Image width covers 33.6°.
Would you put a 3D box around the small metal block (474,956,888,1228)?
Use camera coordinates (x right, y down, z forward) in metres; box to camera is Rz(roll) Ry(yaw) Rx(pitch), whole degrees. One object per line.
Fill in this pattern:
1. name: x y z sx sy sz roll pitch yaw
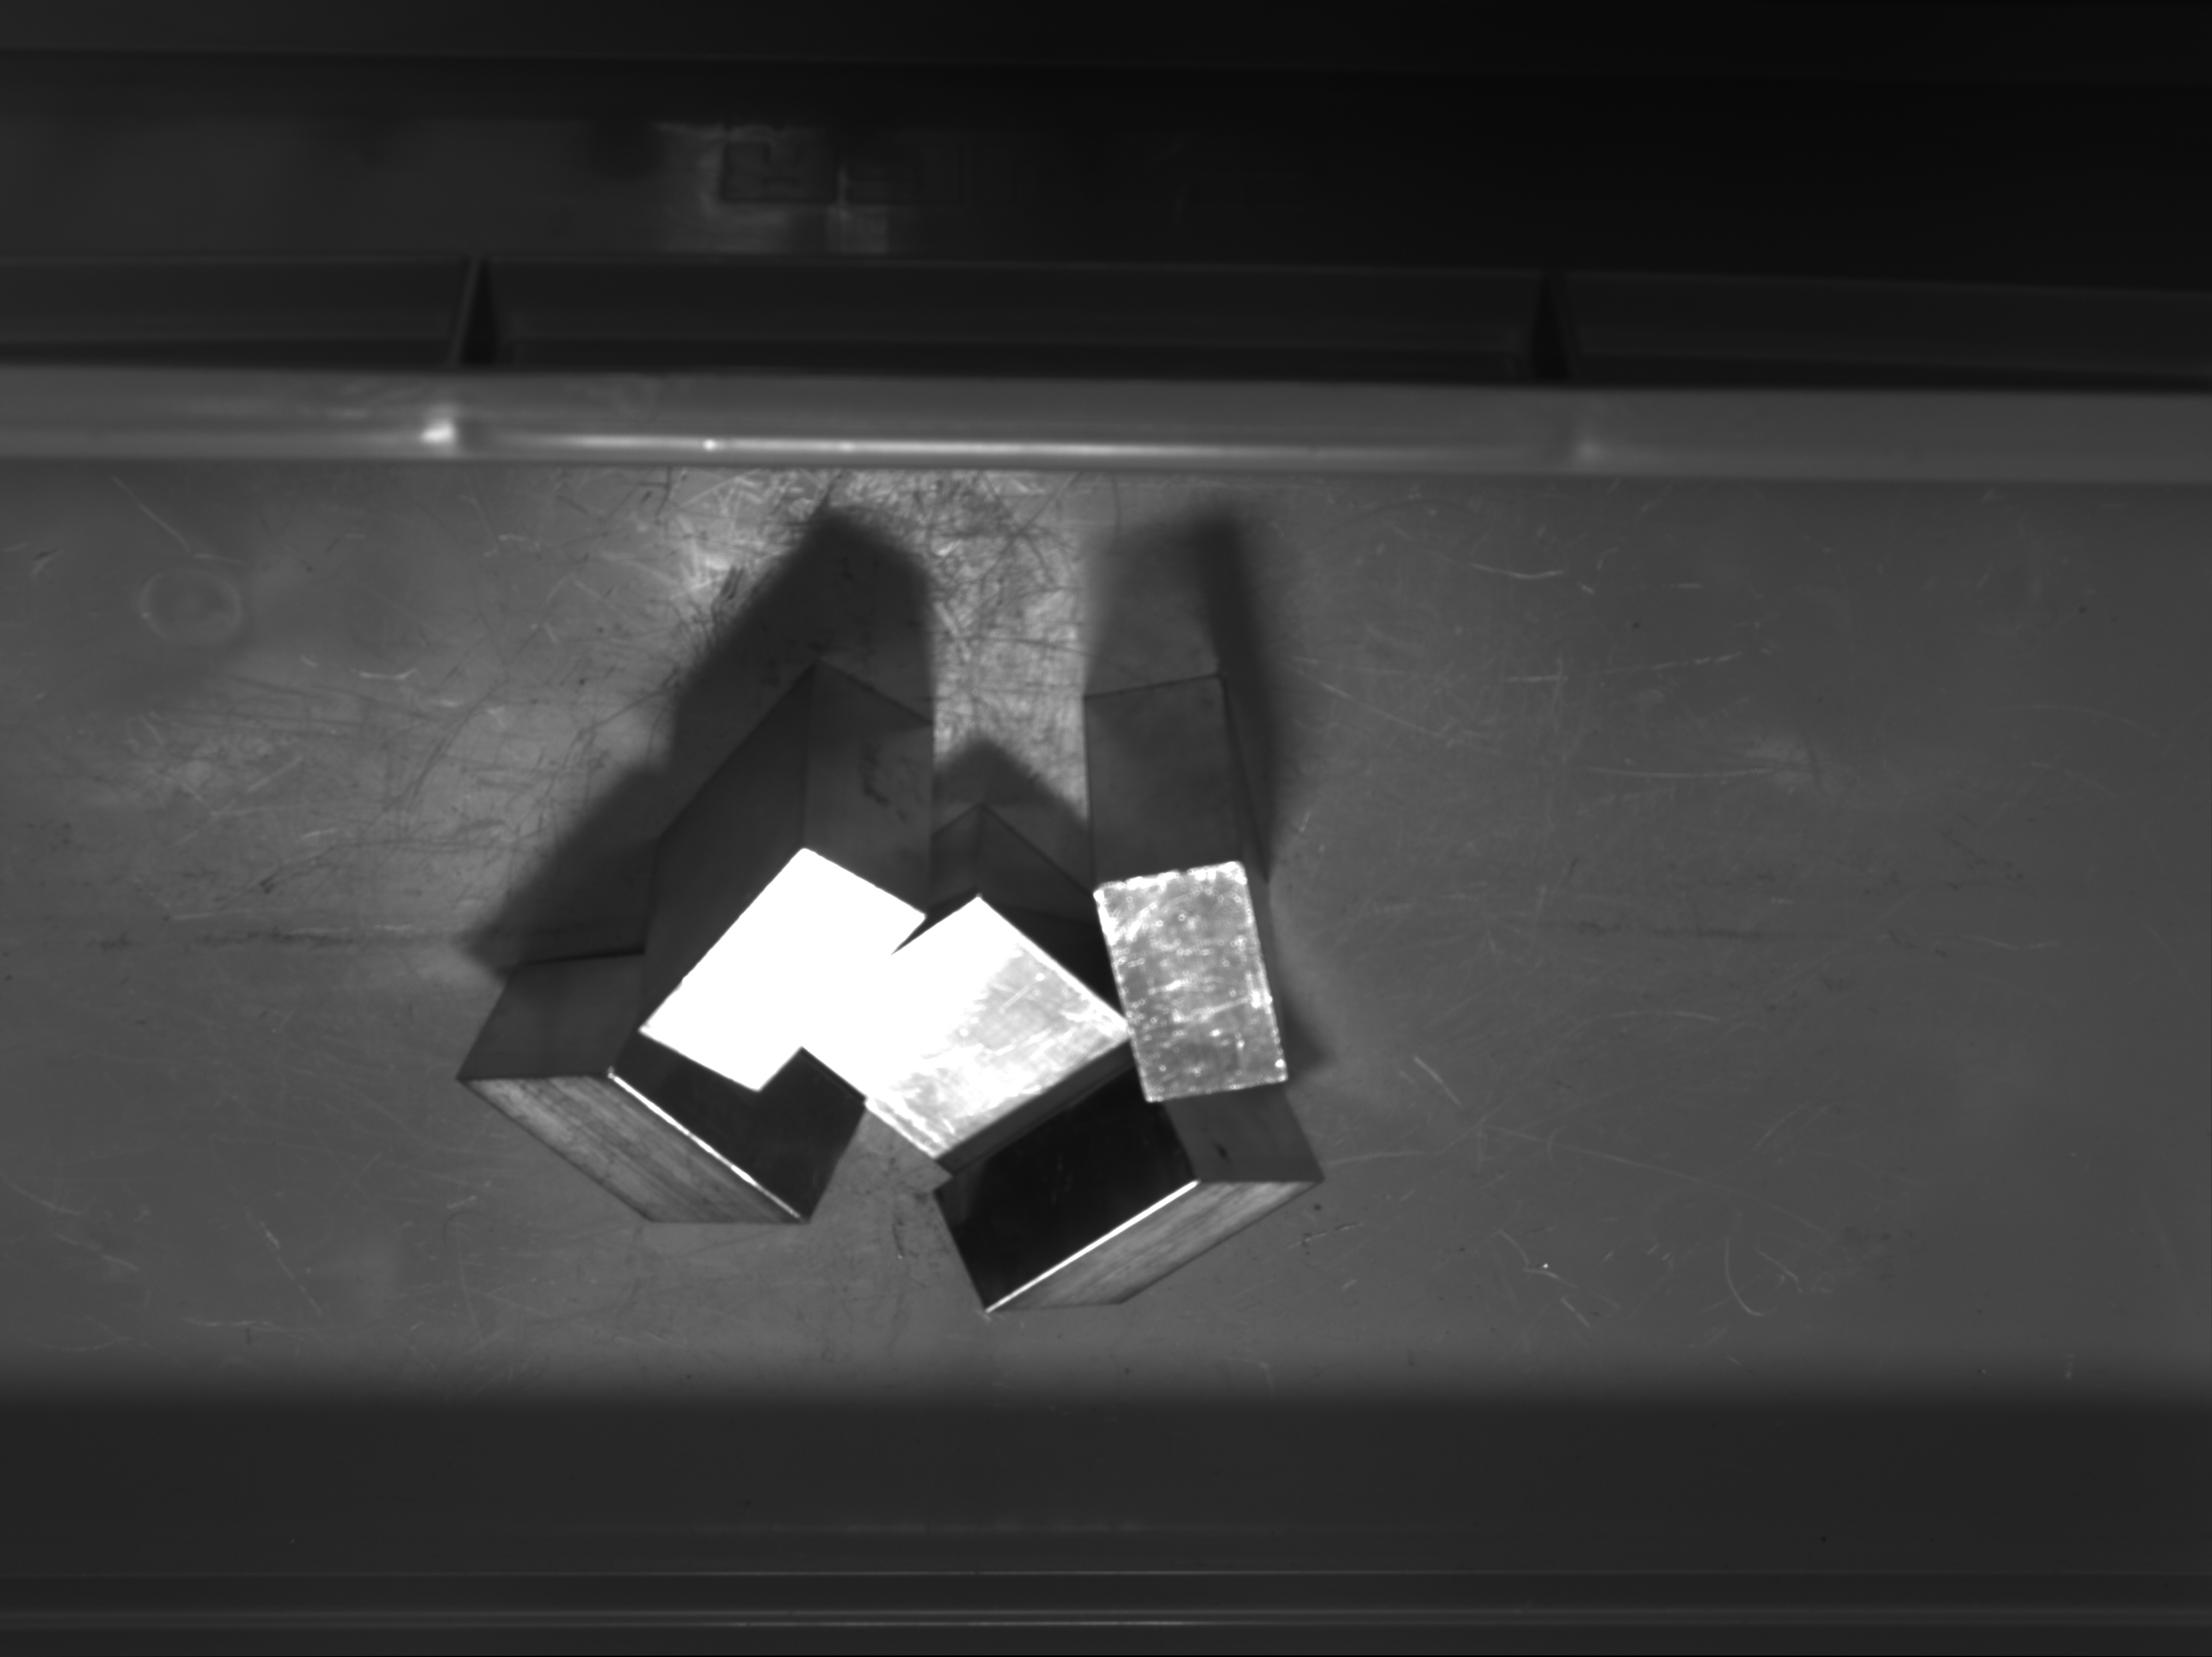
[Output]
1. small metal block: -0.077 0.048 0.659 0.050 0.025 0.050 -6 140 49

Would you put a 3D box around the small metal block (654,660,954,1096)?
1. small metal block: -0.051 0.008 0.625 0.025 0.050 0.050 30 123 -24

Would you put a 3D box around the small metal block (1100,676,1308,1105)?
1. small metal block: 0.017 0.010 0.629 0.025 0.050 0.050 -9 129 5

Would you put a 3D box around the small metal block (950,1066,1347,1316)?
1. small metal block: 0.008 0.066 0.676 0.050 0.025 0.050 -34 160 23

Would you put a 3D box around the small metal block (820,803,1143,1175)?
1. small metal block: -0.022 0.031 0.661 0.050 0.025 0.050 -34 123 24
